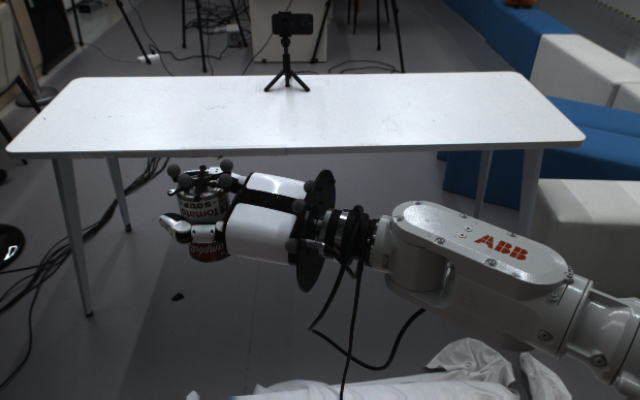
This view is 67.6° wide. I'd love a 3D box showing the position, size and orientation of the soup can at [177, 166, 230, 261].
[{"bbox_3d":[-0.151,0.025,0.653,0.067,0.101,0.067,-2,32,1],"label":"soup can"}]
